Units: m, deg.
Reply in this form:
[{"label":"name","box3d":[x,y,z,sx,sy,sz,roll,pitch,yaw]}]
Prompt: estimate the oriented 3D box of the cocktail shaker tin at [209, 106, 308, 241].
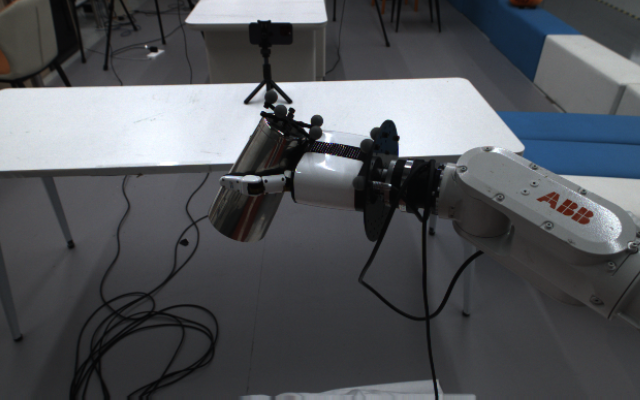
[{"label":"cocktail shaker tin","box3d":[-0.083,-0.037,0.682,0.093,0.170,0.093,25,29,-15]}]
